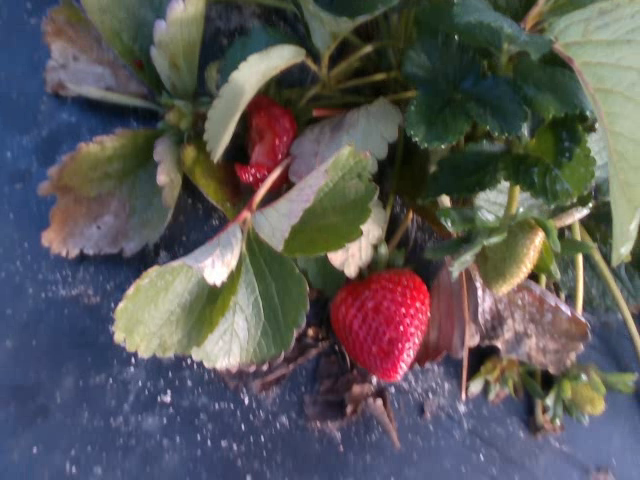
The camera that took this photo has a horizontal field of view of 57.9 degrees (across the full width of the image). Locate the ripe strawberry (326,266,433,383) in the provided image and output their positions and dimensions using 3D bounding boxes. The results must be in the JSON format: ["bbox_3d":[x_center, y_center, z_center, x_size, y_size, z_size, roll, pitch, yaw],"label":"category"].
[{"bbox_3d":[0.015,0.023,0.147,0.032,0.030,0.025,-4,-27,-2],"label":"ripe strawberry"}]
